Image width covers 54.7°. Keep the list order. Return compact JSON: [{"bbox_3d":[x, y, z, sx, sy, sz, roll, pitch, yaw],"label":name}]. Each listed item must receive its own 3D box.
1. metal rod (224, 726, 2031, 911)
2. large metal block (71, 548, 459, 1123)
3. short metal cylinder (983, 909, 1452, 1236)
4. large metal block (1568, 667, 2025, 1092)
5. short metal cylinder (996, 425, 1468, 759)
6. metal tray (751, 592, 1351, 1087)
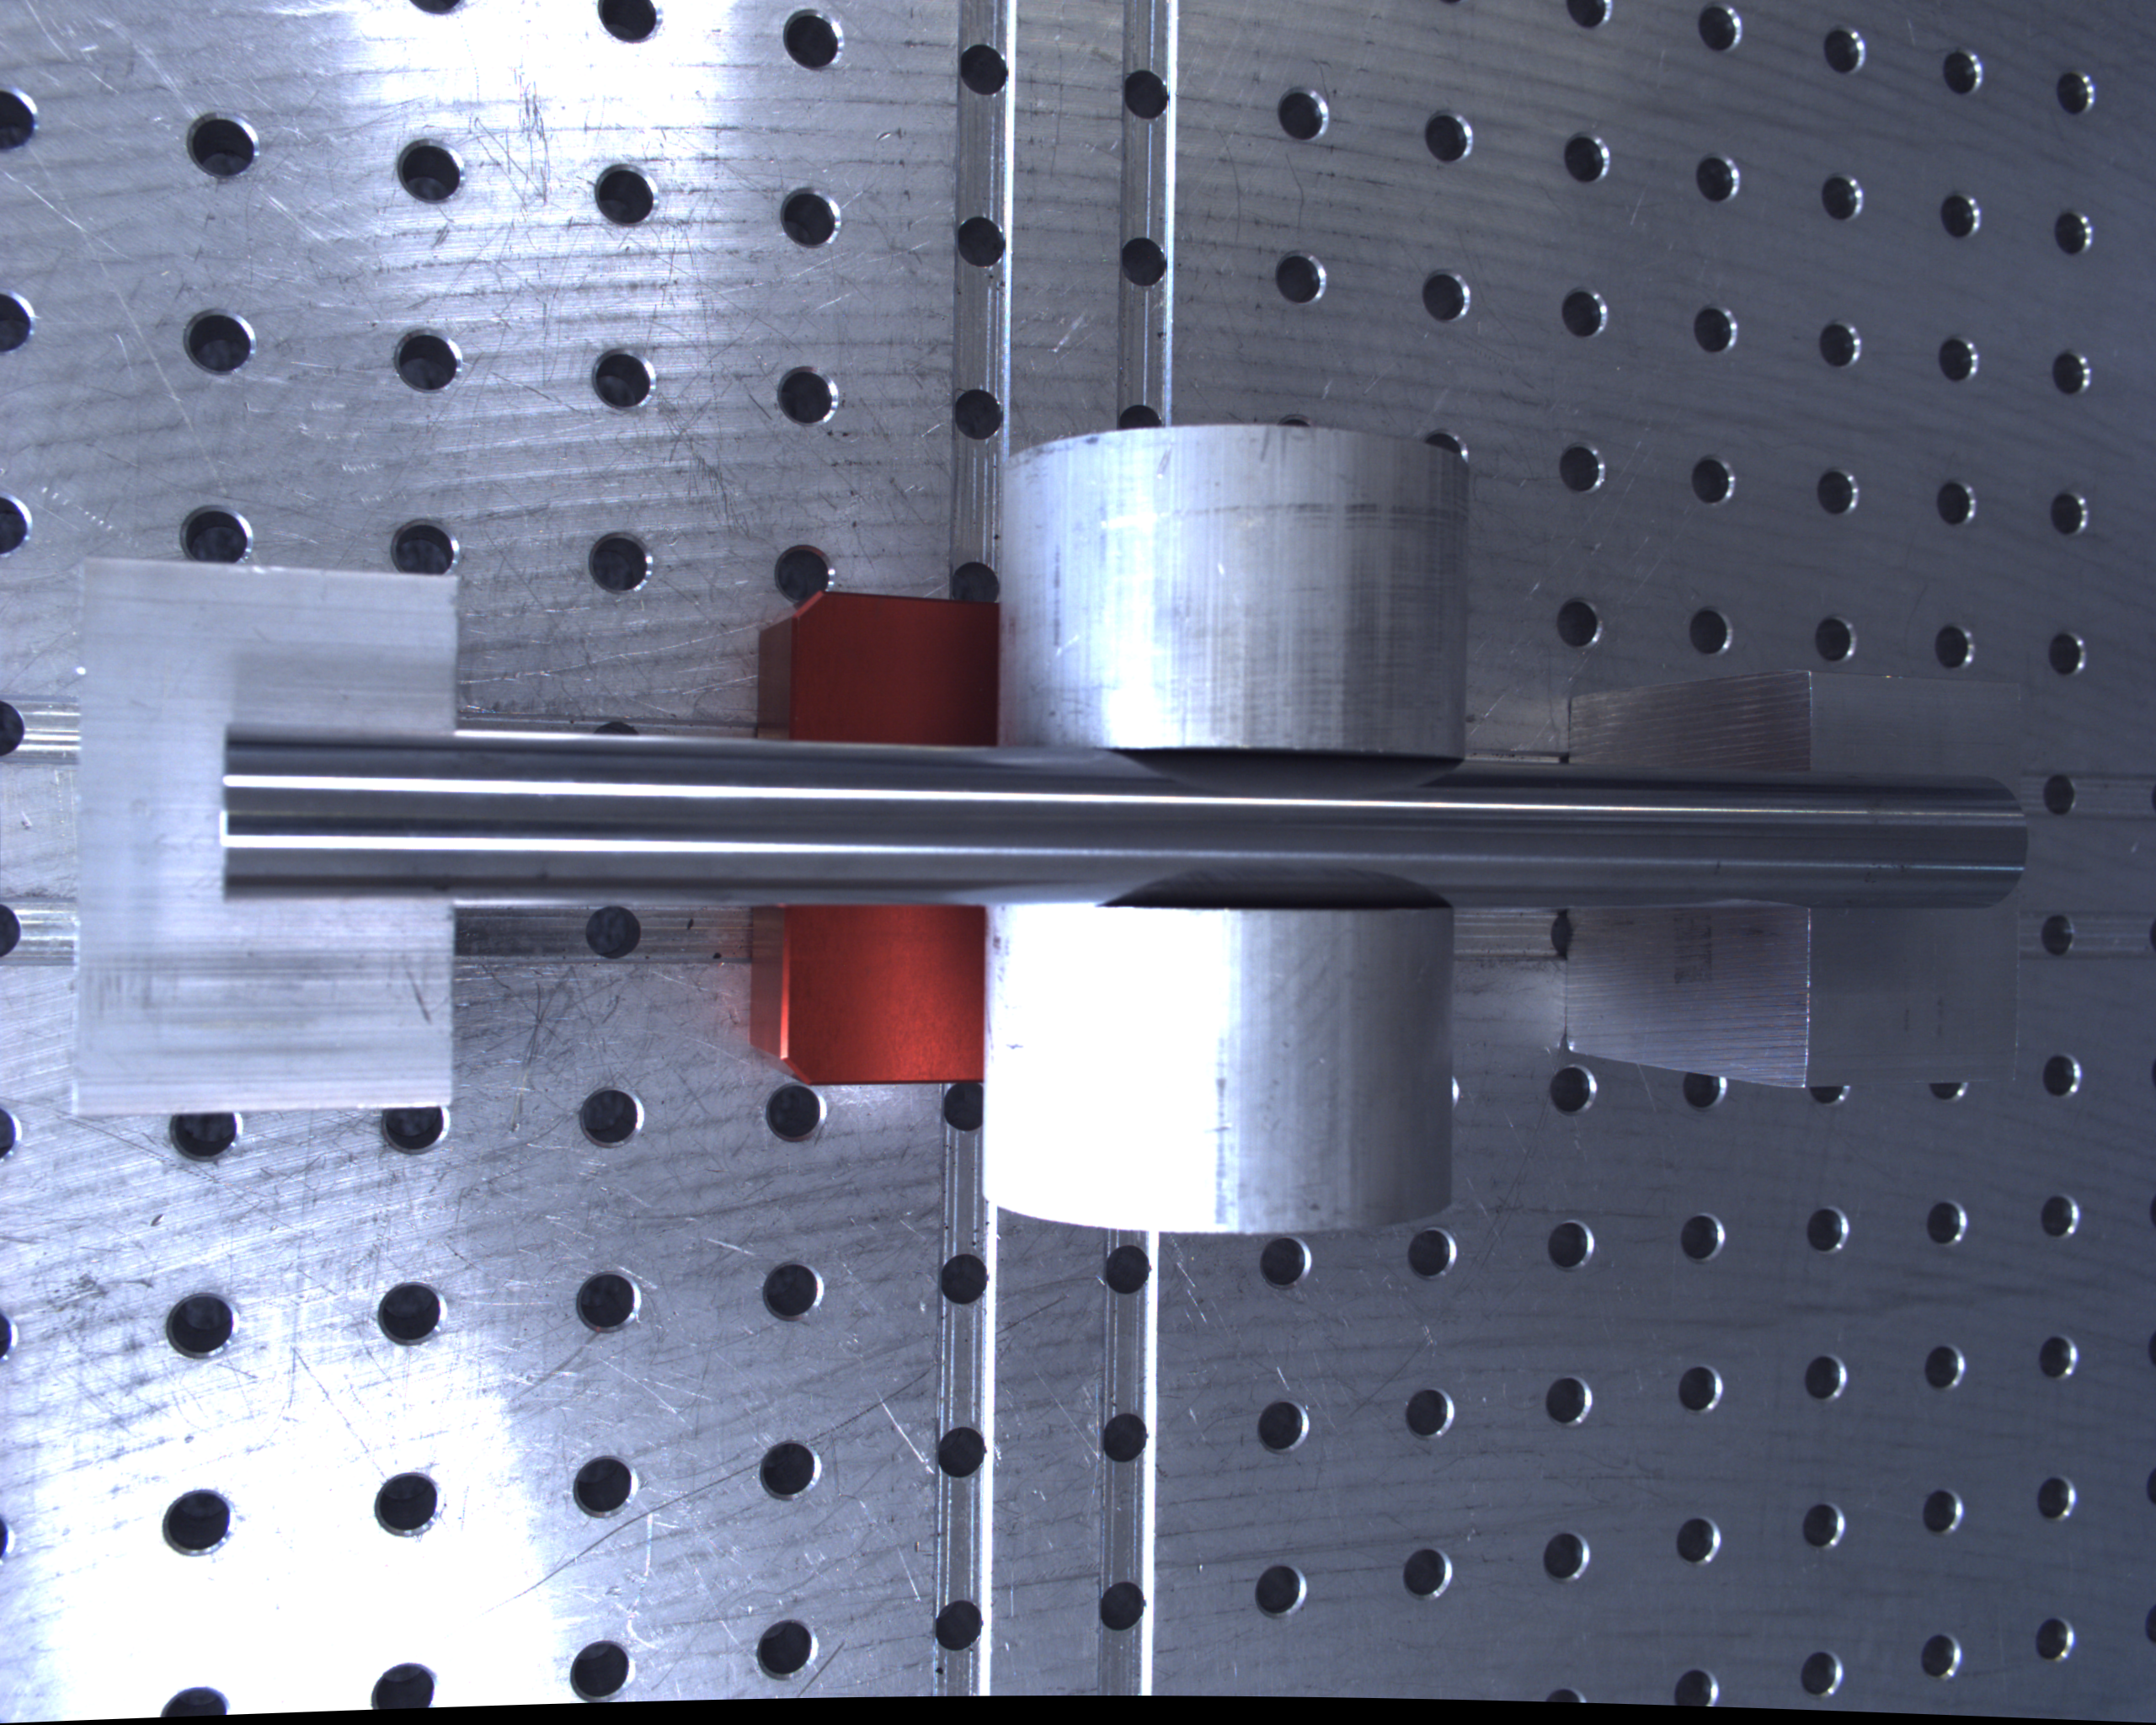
[{"bbox_3d":[0.026,-0.005,0.336,0.302,0.025,0.025,1,90,-20],"label":"metal rod"},{"bbox_3d":[-0.129,-0.004,0.335,0.050,0.080,0.080,1,90,-20],"label":"large metal block"},{"bbox_3d":[0.024,0.032,0.360,0.081,0.080,0.050,1,90,-20],"label":"short metal cylinder"},{"bbox_3d":[0.147,0.003,0.436,0.050,0.080,0.080,1,90,-20],"label":"large metal block"},{"bbox_3d":[0.026,-0.043,0.361,0.081,0.080,0.050,1,90,-20],"label":"short metal cylinder"},{"bbox_3d":[0.004,-0.003,0.411,0.131,0.030,0.089,1,90,-20],"label":"metal tray"}]
